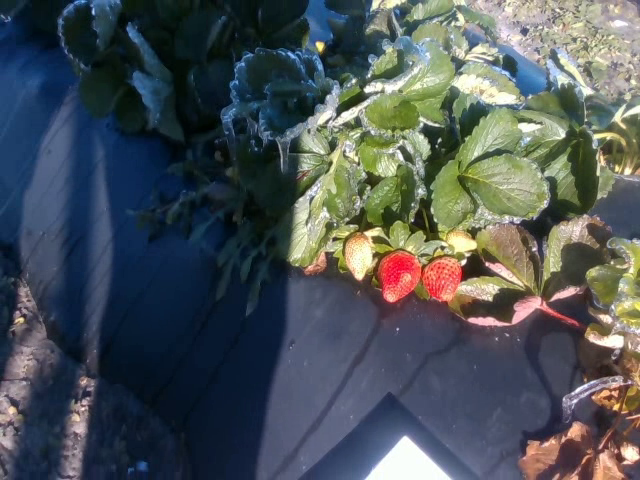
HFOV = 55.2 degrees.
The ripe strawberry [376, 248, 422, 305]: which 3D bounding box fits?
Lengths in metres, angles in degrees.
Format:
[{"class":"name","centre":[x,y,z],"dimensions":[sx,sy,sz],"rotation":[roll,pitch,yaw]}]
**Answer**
[{"class":"ripe strawberry","centre":[0.061,0.035,0.487],"dimensions":[0.036,0.040,0.052],"rotation":[-1,33,20]}]

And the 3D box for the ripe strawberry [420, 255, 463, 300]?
[{"class":"ripe strawberry","centre":[0.101,0.033,0.492],"dimensions":[0.036,0.041,0.030],"rotation":[-24,-31,11]}]
